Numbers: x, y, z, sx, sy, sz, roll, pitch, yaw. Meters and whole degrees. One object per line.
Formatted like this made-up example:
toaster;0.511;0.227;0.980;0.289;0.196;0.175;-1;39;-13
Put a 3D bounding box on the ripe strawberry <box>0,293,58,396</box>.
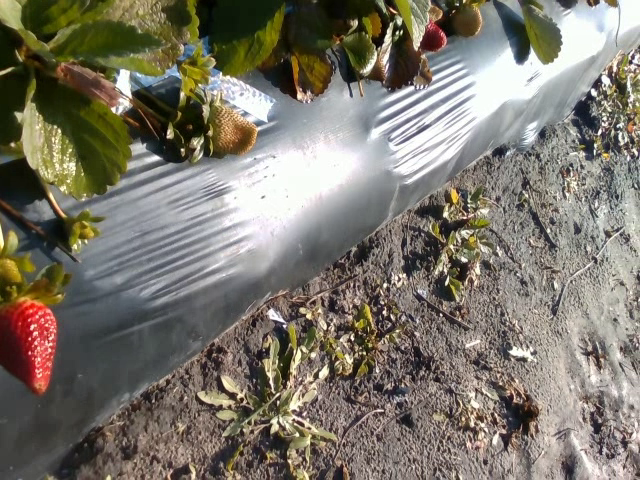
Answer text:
ripe strawberry;-0.158;0.058;0.326;0.042;0.059;0.042;-25;-10;35
